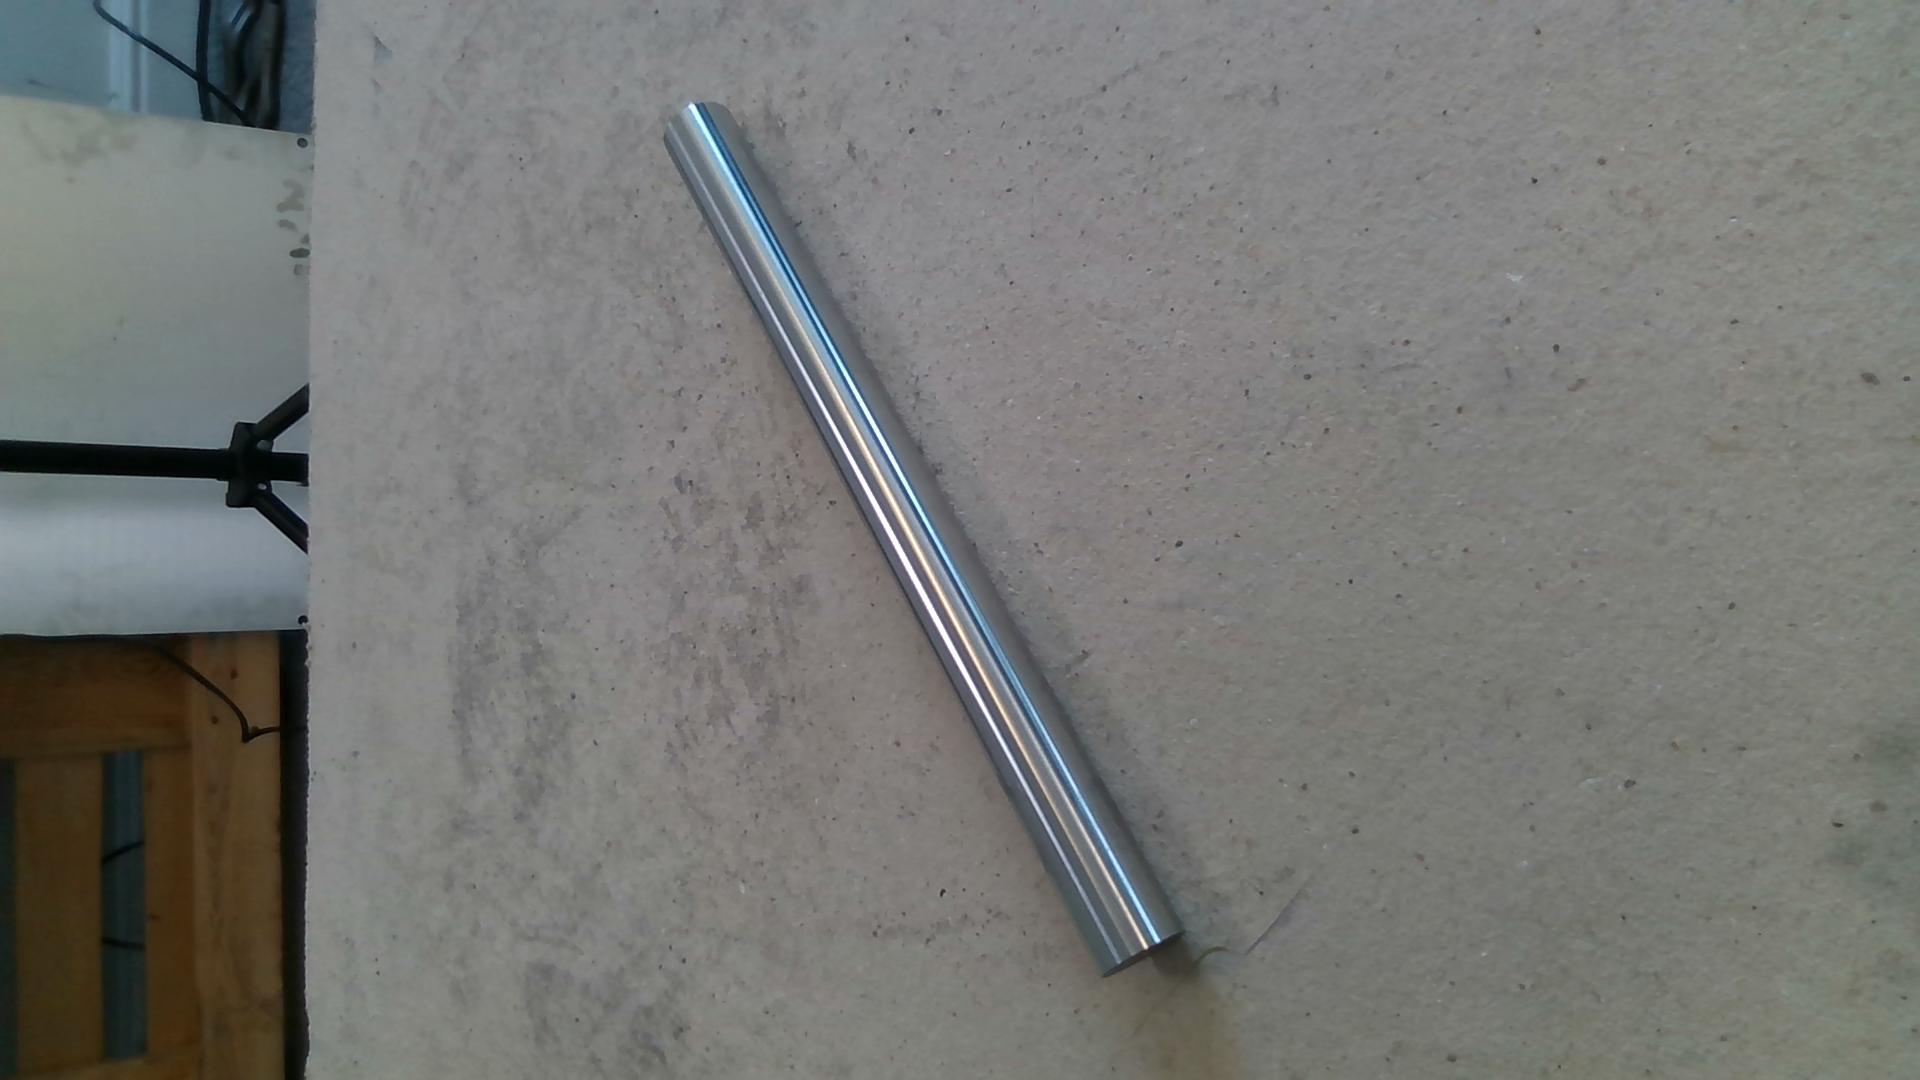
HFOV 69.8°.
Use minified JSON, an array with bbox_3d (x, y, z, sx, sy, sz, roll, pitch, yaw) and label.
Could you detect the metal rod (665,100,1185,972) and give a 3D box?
[{"bbox_3d":[-0.020,-0.017,0.408,0.025,0.025,0.299,-43,64,32],"label":"metal rod"}]
